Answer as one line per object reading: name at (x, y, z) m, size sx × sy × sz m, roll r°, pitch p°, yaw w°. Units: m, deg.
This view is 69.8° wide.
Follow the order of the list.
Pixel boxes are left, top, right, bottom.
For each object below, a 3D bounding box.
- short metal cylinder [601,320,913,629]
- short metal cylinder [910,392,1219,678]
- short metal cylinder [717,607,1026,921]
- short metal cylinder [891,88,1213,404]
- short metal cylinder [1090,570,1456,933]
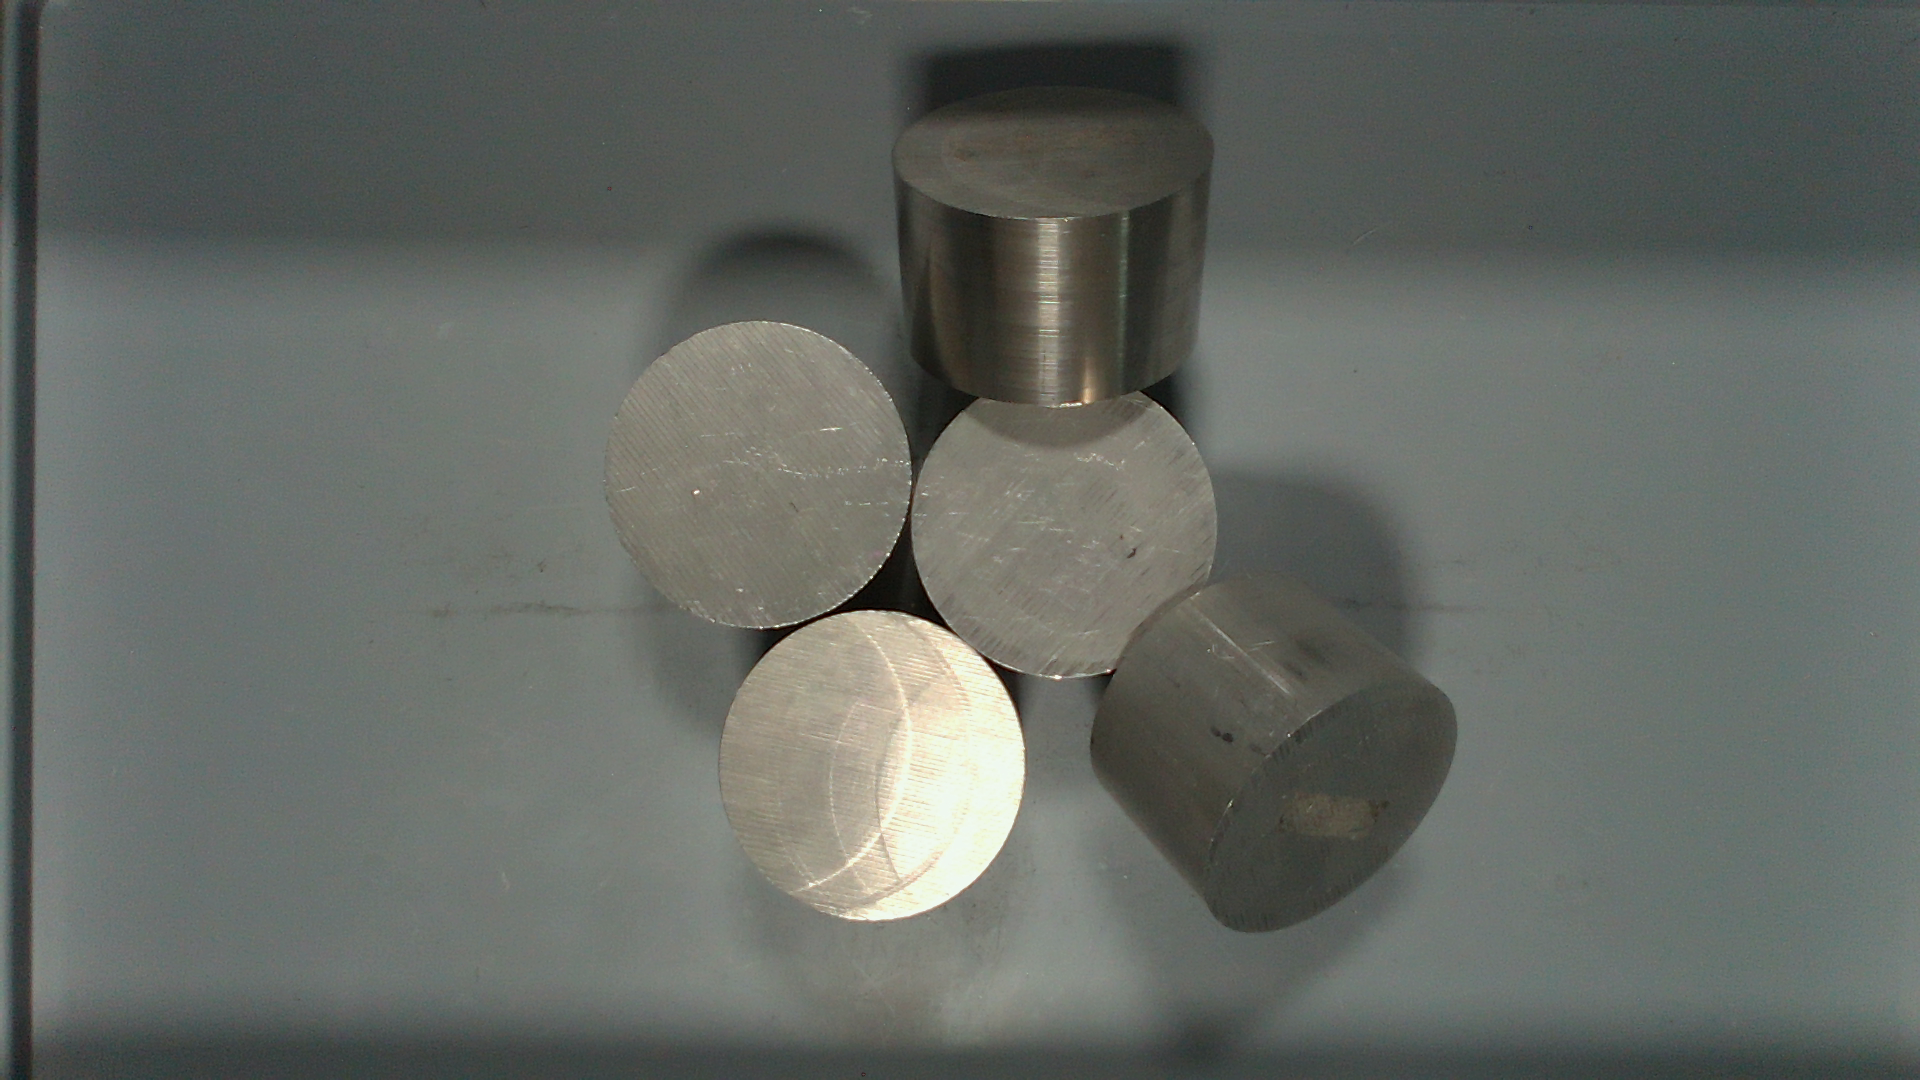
short metal cylinder at (-0.053, -0.017, 0.381) m, size 0.080 × 0.050 × 0.080 m, roll 0°, pitch 90°, yaw 0°
short metal cylinder at (0.027, -0.004, 0.381) m, size 0.080 × 0.050 × 0.080 m, roll 0°, pitch 90°, yaw 0°
short metal cylinder at (-0.023, 0.059, 0.381) m, size 0.080 × 0.050 × 0.080 m, roll 0°, pitch 90°, yaw 0°
short metal cylinder at (0.024, -0.078, 0.359) m, size 0.080 × 0.080 × 0.050 m, roll -3°, pitch 129°, yaw 0°
short metal cylinder at (0.082, 0.055, 0.362) m, size 0.080 × 0.050 × 0.080 m, roll -18°, pitch 129°, yaw -23°
